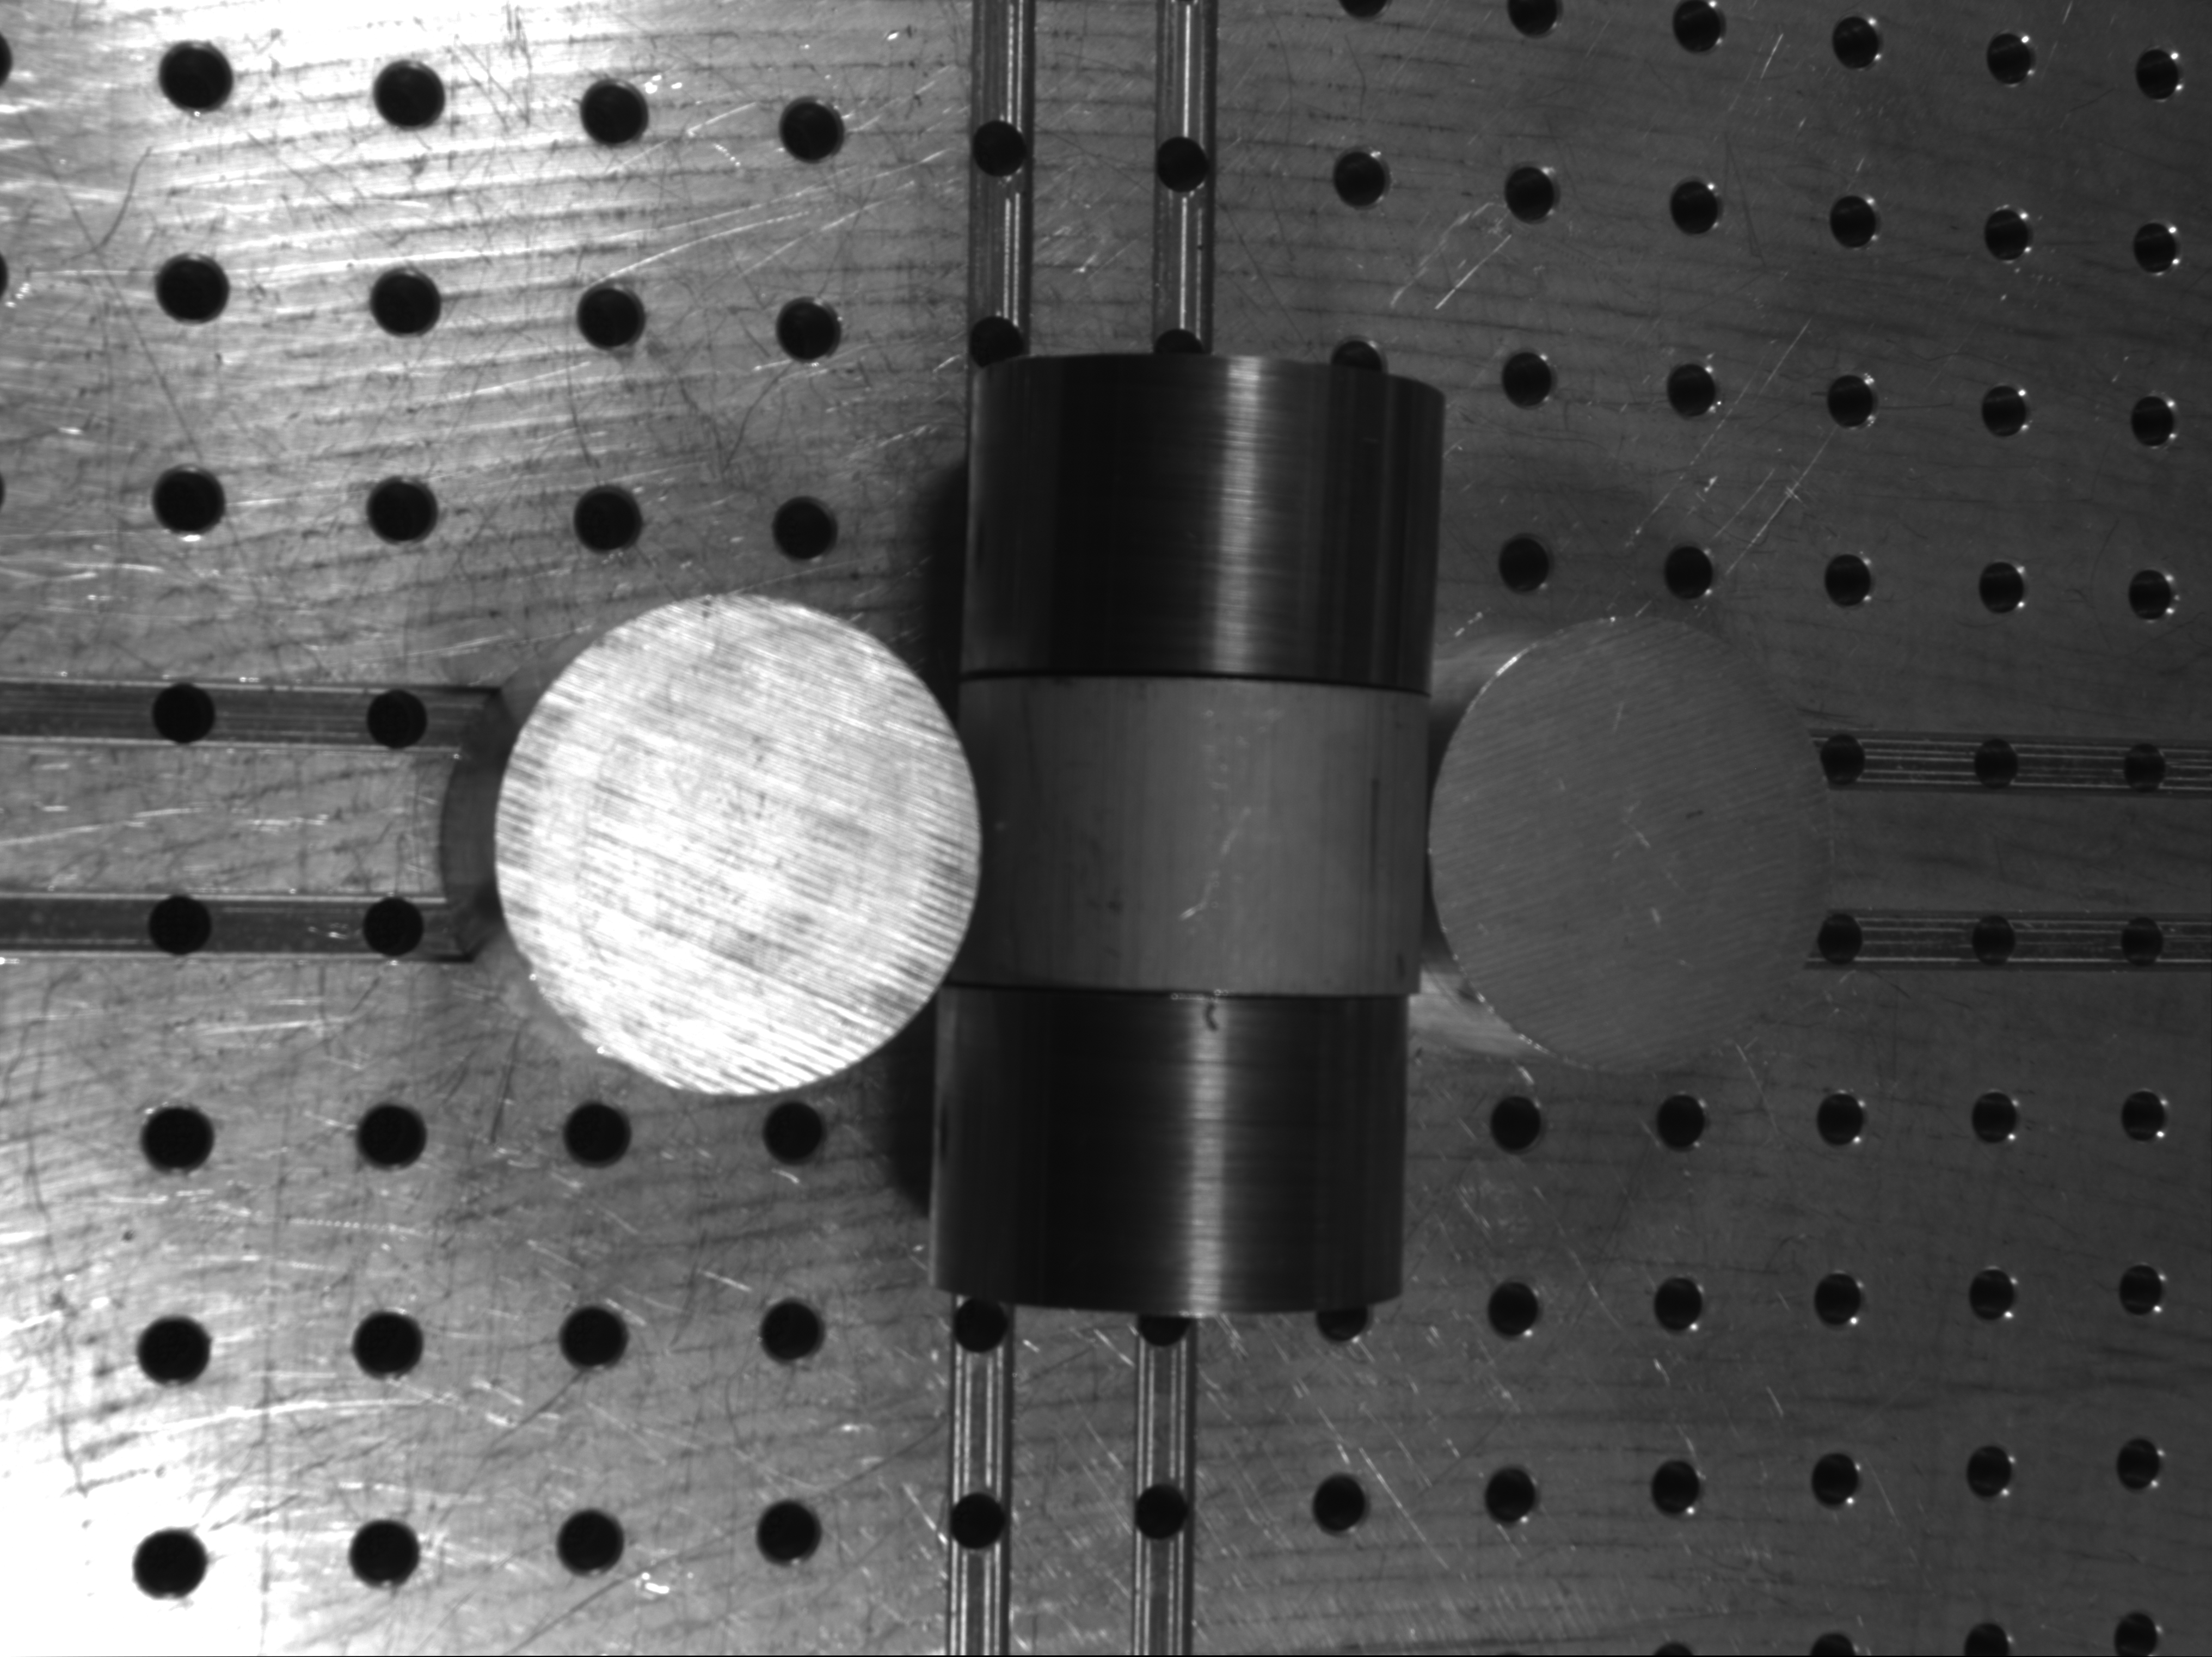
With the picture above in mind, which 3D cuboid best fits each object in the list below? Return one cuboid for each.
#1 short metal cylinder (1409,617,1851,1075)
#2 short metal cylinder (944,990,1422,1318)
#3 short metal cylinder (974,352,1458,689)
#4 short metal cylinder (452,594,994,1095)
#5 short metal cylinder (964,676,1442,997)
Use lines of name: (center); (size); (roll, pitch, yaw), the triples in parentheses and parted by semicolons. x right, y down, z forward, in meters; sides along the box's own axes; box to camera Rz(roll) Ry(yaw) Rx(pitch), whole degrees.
short metal cylinder: (0.087, 0.003, 0.663); (0.080, 0.050, 0.080); (0, 90, -20)
short metal cylinder: (0.013, 0.053, 0.621); (0.080, 0.080, 0.050); (2, 89, -20)
short metal cylinder: (0.019, -0.050, 0.623); (0.080, 0.080, 0.050); (3, 89, -20)
short metal cylinder: (-0.064, 0.003, 0.608); (0.080, 0.050, 0.080); (0, 90, -20)
short metal cylinder: (0.016, 0.002, 0.622); (0.080, 0.080, 0.050); (2, 89, -20)
